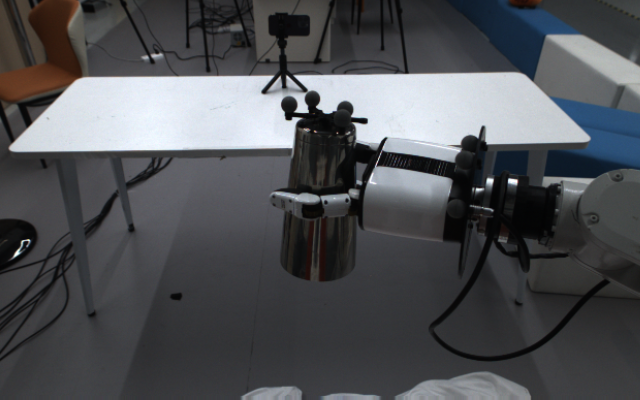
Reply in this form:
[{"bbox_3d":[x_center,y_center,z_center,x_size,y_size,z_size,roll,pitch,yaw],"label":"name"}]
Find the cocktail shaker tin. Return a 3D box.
[{"bbox_3d":[0.004,-0.004,0.554,0.093,0.170,0.093,2,26,-1],"label":"cocktail shaker tin"}]
